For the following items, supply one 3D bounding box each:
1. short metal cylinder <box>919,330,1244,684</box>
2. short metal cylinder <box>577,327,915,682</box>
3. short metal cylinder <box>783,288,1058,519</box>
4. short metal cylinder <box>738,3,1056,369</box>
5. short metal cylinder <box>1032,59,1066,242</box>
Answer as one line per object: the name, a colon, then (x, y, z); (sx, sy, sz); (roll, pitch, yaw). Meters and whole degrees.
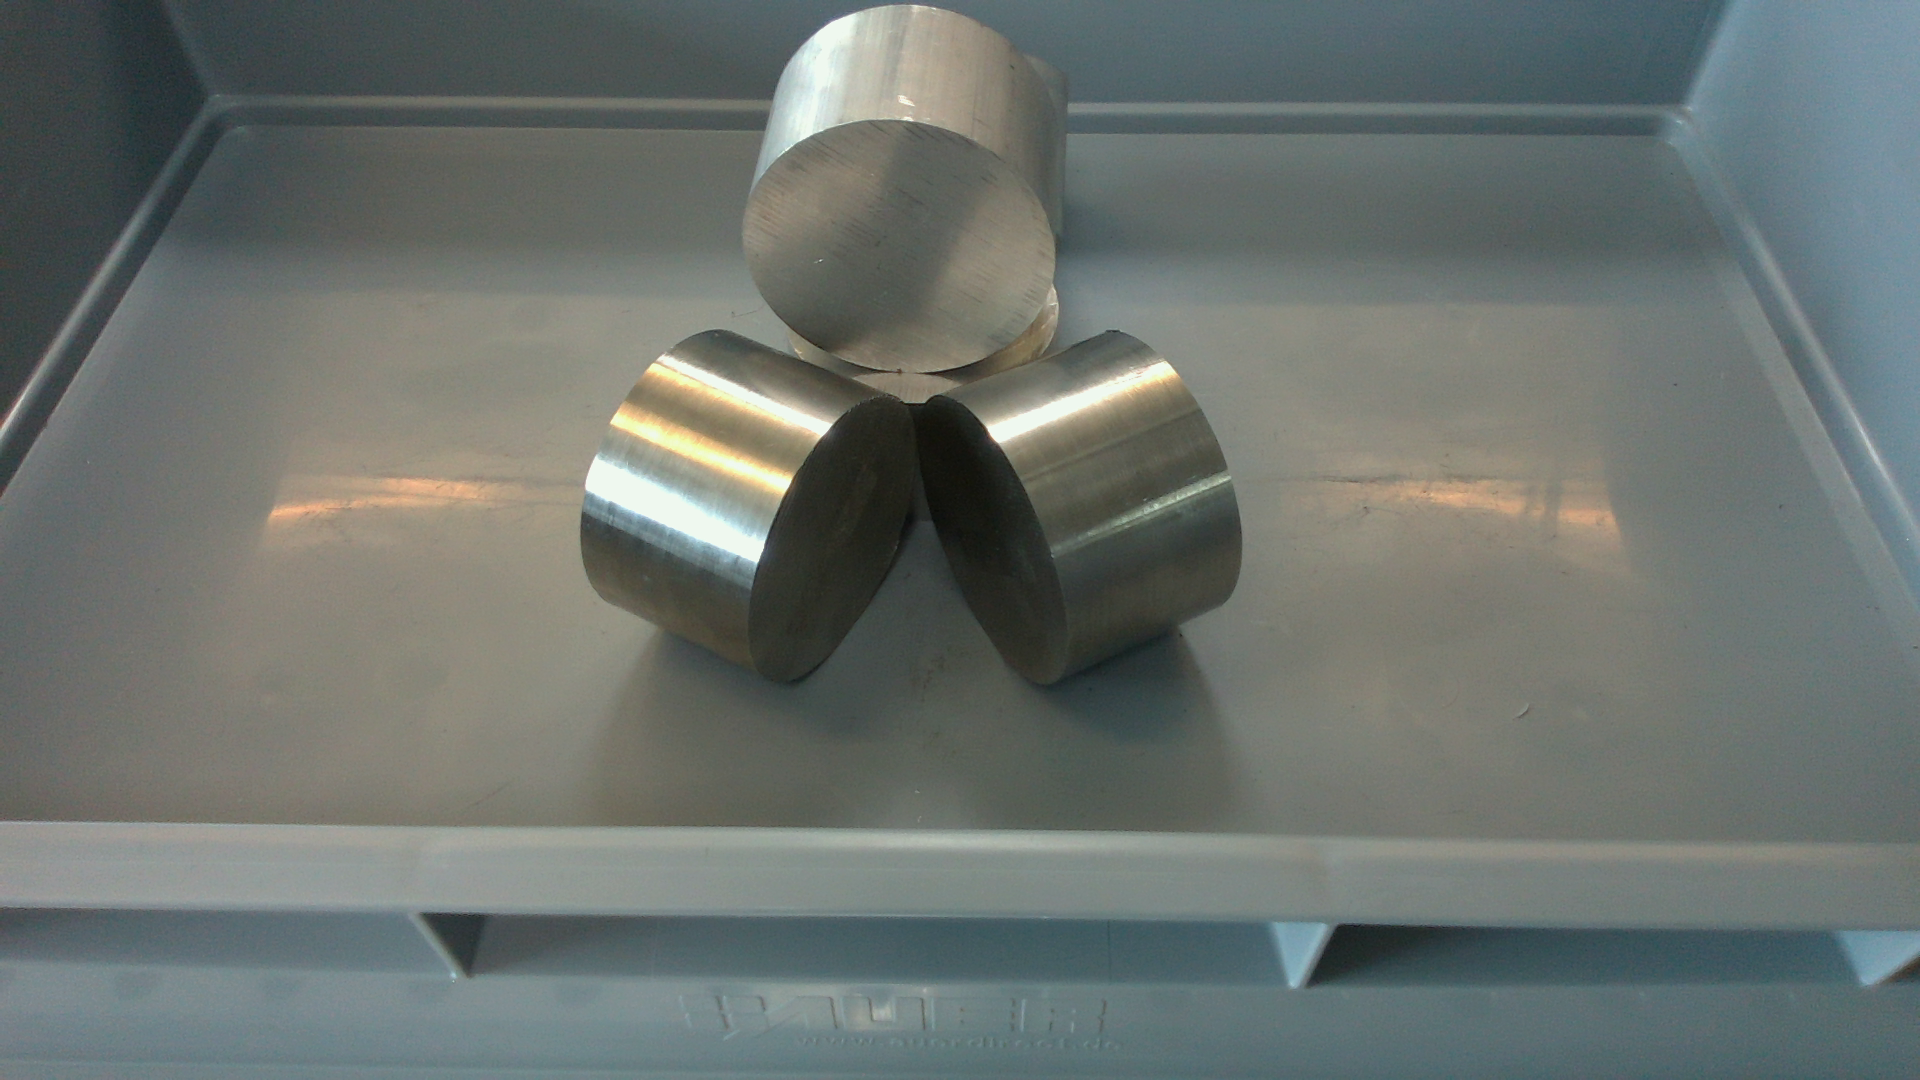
short metal cylinder: (0.030, -0.009, 0.362); (0.050, 0.080, 0.080); (-23, 54, -17)
short metal cylinder: (-0.054, -0.010, 0.362); (0.050, 0.080, 0.080); (23, 54, 19)
short metal cylinder: (-0.012, -0.053, 0.417); (0.080, 0.050, 0.080); (0, 50, 0)
short metal cylinder: (-0.015, -0.092, 0.366); (0.080, 0.080, 0.050); (2, 50, 2)
short metal cylinder: (-0.006, -0.125, 0.451); (0.080, 0.080, 0.050); (3, 92, 3)
